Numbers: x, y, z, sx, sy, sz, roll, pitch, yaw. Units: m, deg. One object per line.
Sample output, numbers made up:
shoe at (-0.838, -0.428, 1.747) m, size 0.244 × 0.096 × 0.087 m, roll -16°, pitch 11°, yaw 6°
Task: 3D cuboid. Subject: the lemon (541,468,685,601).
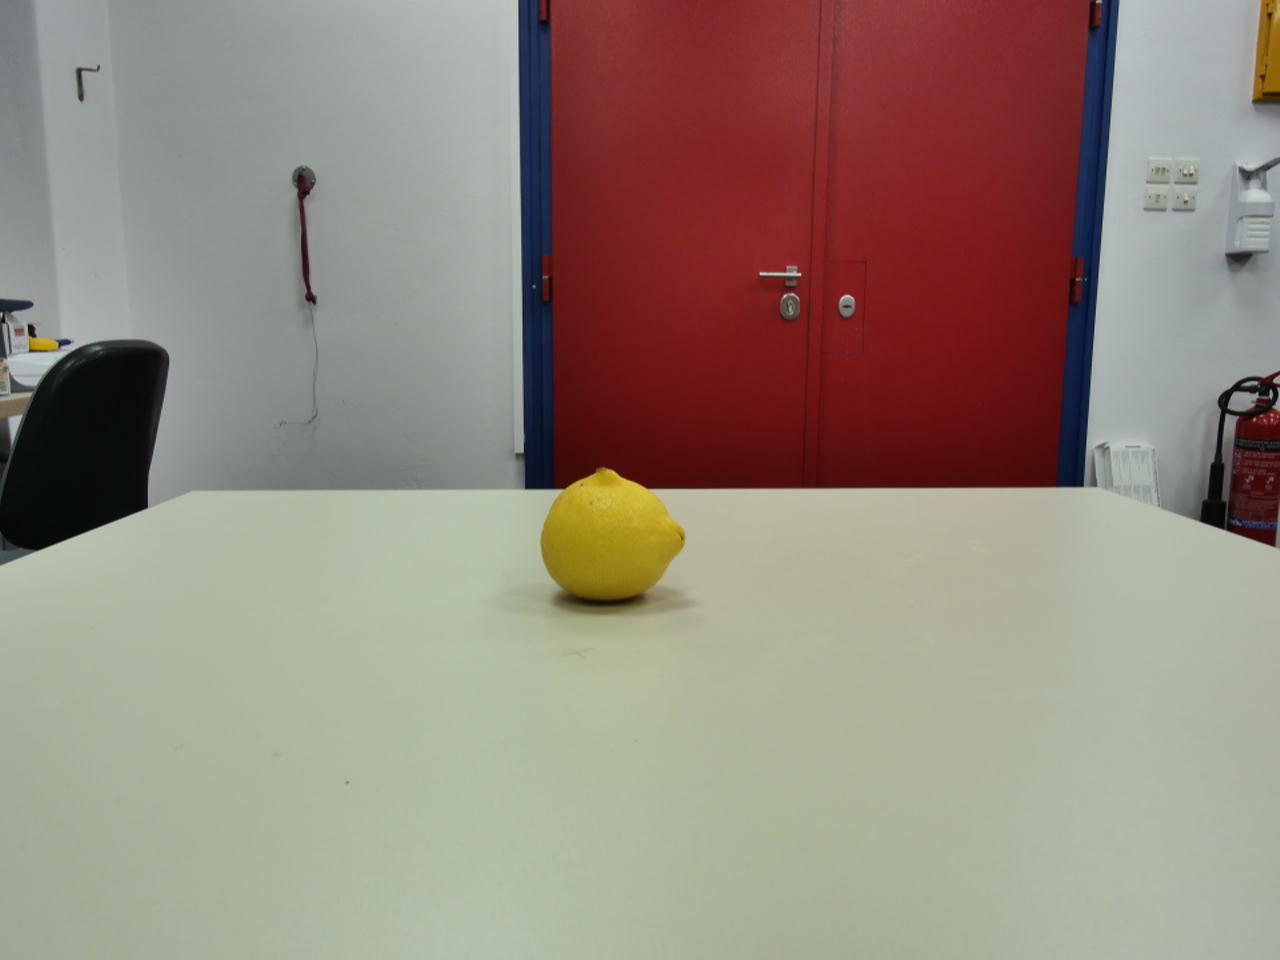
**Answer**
lemon at (-0.017, 0.029, 0.538) m, size 0.070 × 0.071 × 0.071 m, roll -5°, pitch 8°, yaw -34°
